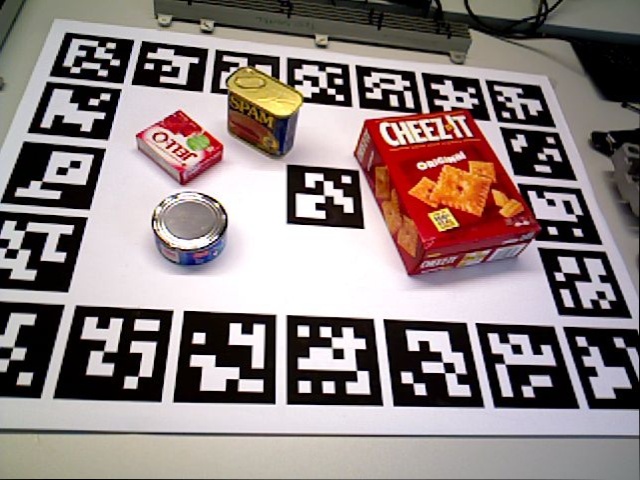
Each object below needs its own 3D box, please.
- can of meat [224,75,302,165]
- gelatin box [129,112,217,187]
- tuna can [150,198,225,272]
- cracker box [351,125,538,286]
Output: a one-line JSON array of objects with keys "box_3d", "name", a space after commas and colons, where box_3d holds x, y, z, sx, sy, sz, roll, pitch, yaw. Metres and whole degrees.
[{"box_3d": [-0.081, -0.161, 0.742, 0.102, 0.086, 0.056, 28, 53, 10], "name": "can of meat"}, {"box_3d": [-0.193, -0.121, 0.714, 0.089, 0.031, 0.071, 40, 54, 13], "name": "gelatin box"}, {"box_3d": [-0.154, -0.006, 0.635, 0.085, 0.034, 0.084, 4, 58, -8], "name": "tuna can"}, {"box_3d": [0.159, -0.055, 0.721, 0.162, 0.074, 0.212, -9, 56, -20], "name": "cracker box"}]
